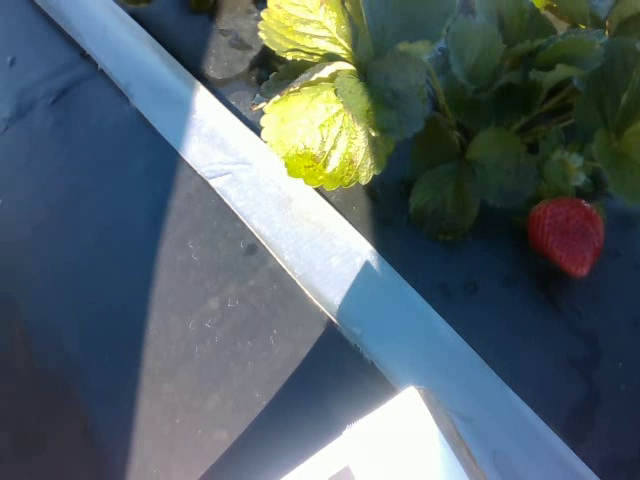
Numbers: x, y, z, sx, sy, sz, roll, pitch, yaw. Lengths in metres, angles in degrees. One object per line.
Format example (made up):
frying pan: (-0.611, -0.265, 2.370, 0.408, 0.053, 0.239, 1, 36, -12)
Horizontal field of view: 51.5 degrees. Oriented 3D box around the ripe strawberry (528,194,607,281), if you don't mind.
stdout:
ripe strawberry: (0.134, 0.000, 0.351, 0.045, 0.059, 0.042, -15, -41, 28)
